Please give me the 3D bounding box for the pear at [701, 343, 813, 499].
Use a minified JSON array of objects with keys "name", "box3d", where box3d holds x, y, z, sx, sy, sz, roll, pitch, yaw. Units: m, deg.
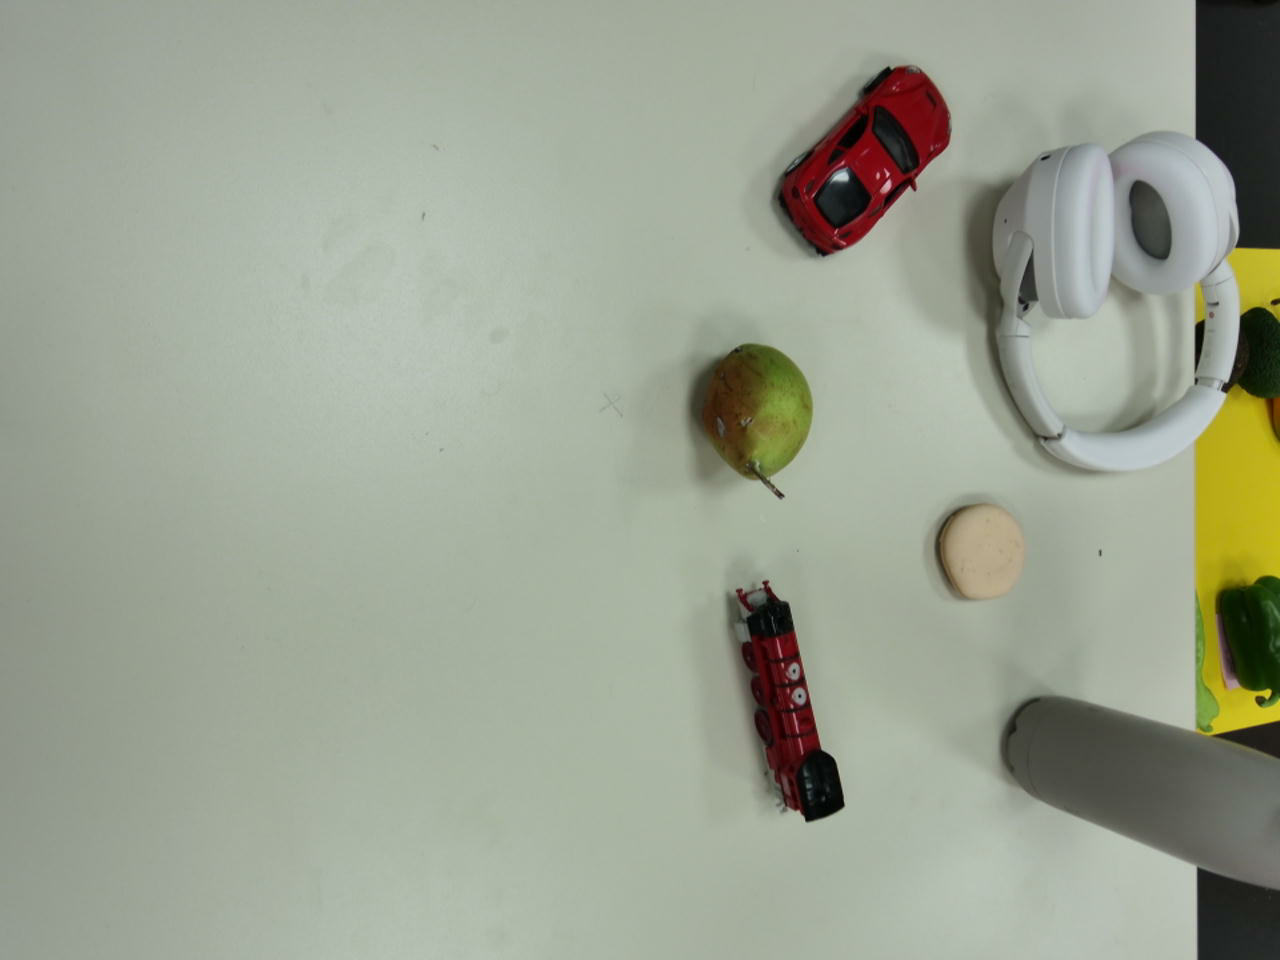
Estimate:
[{"name":"pear","box3d":[0.065,-0.038,0.558,0.070,0.069,0.068,-41,105,-17]}]
